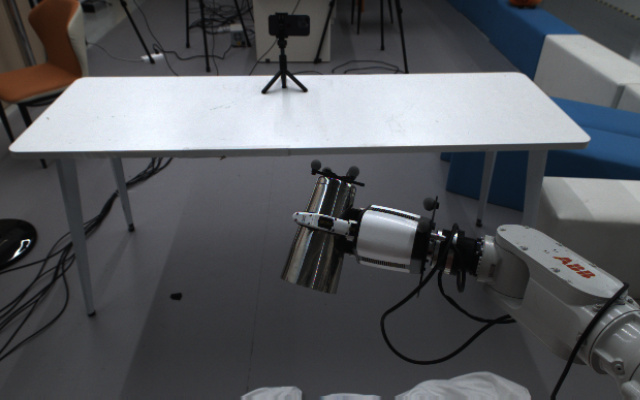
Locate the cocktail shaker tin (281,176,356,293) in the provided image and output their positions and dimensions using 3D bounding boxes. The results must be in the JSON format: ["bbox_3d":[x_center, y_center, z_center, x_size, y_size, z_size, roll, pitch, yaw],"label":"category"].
[{"bbox_3d":[0.003,0.053,0.768,0.093,0.170,0.093,16,-6,2],"label":"cocktail shaker tin"}]
